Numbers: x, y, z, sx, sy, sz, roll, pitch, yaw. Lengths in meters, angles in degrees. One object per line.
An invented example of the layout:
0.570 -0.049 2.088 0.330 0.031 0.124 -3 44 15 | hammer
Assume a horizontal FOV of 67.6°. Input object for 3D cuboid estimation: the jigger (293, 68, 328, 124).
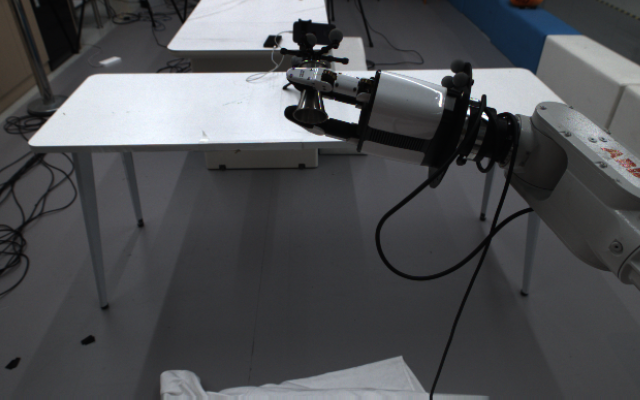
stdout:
-0.011 -0.137 0.613 0.043 0.043 0.071 3 75 2 | jigger
